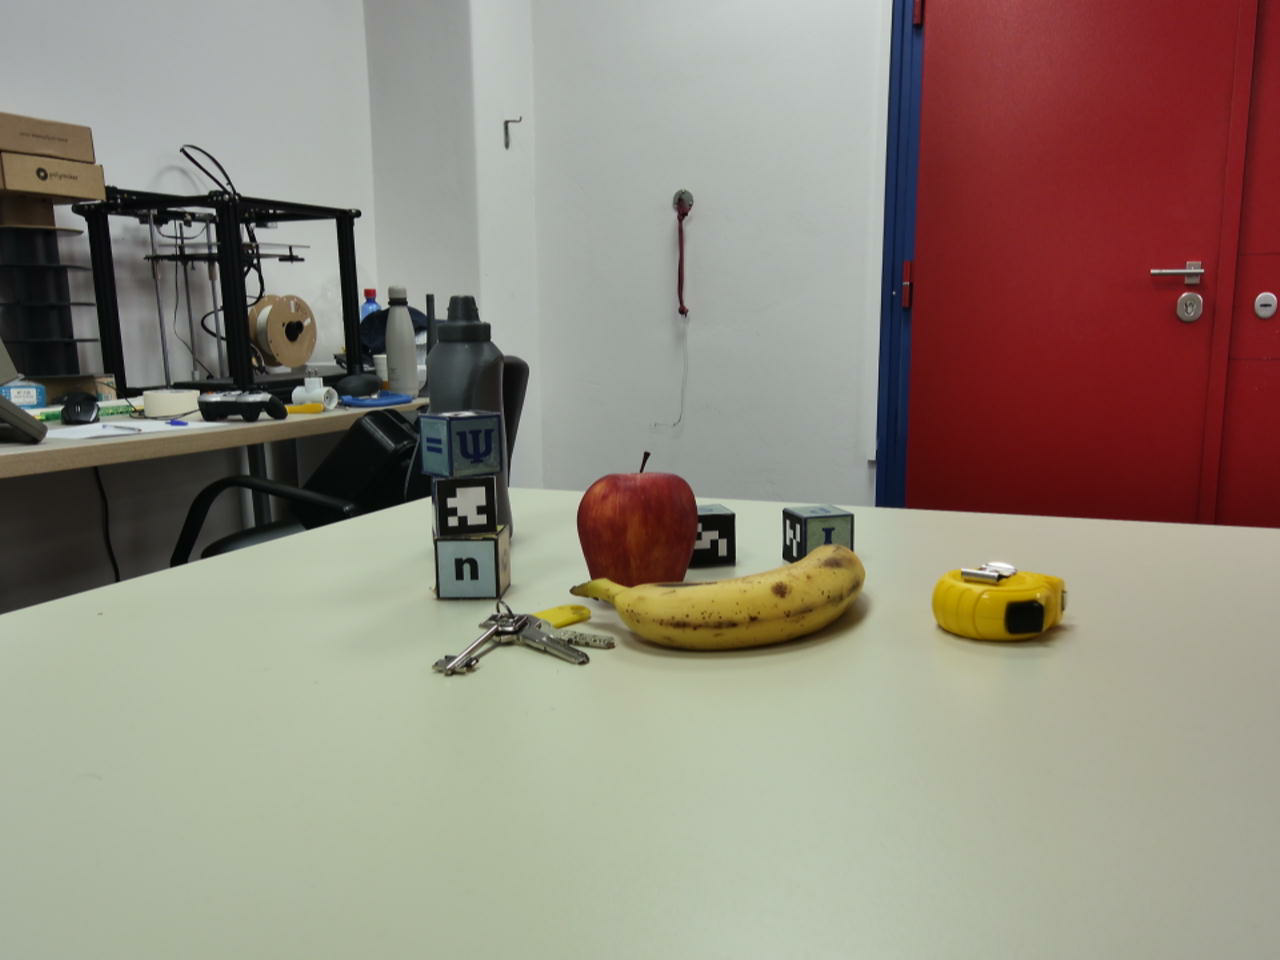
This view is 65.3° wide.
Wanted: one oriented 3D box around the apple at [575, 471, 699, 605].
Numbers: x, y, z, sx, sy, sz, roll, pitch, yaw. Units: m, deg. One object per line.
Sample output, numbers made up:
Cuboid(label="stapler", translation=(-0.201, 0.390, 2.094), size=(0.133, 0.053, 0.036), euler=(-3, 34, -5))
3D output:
Cuboid(label="apple", translation=(-0.001, 0.027, 0.621), size=(0.083, 0.090, 0.083), euler=(-1, 7, 0))
